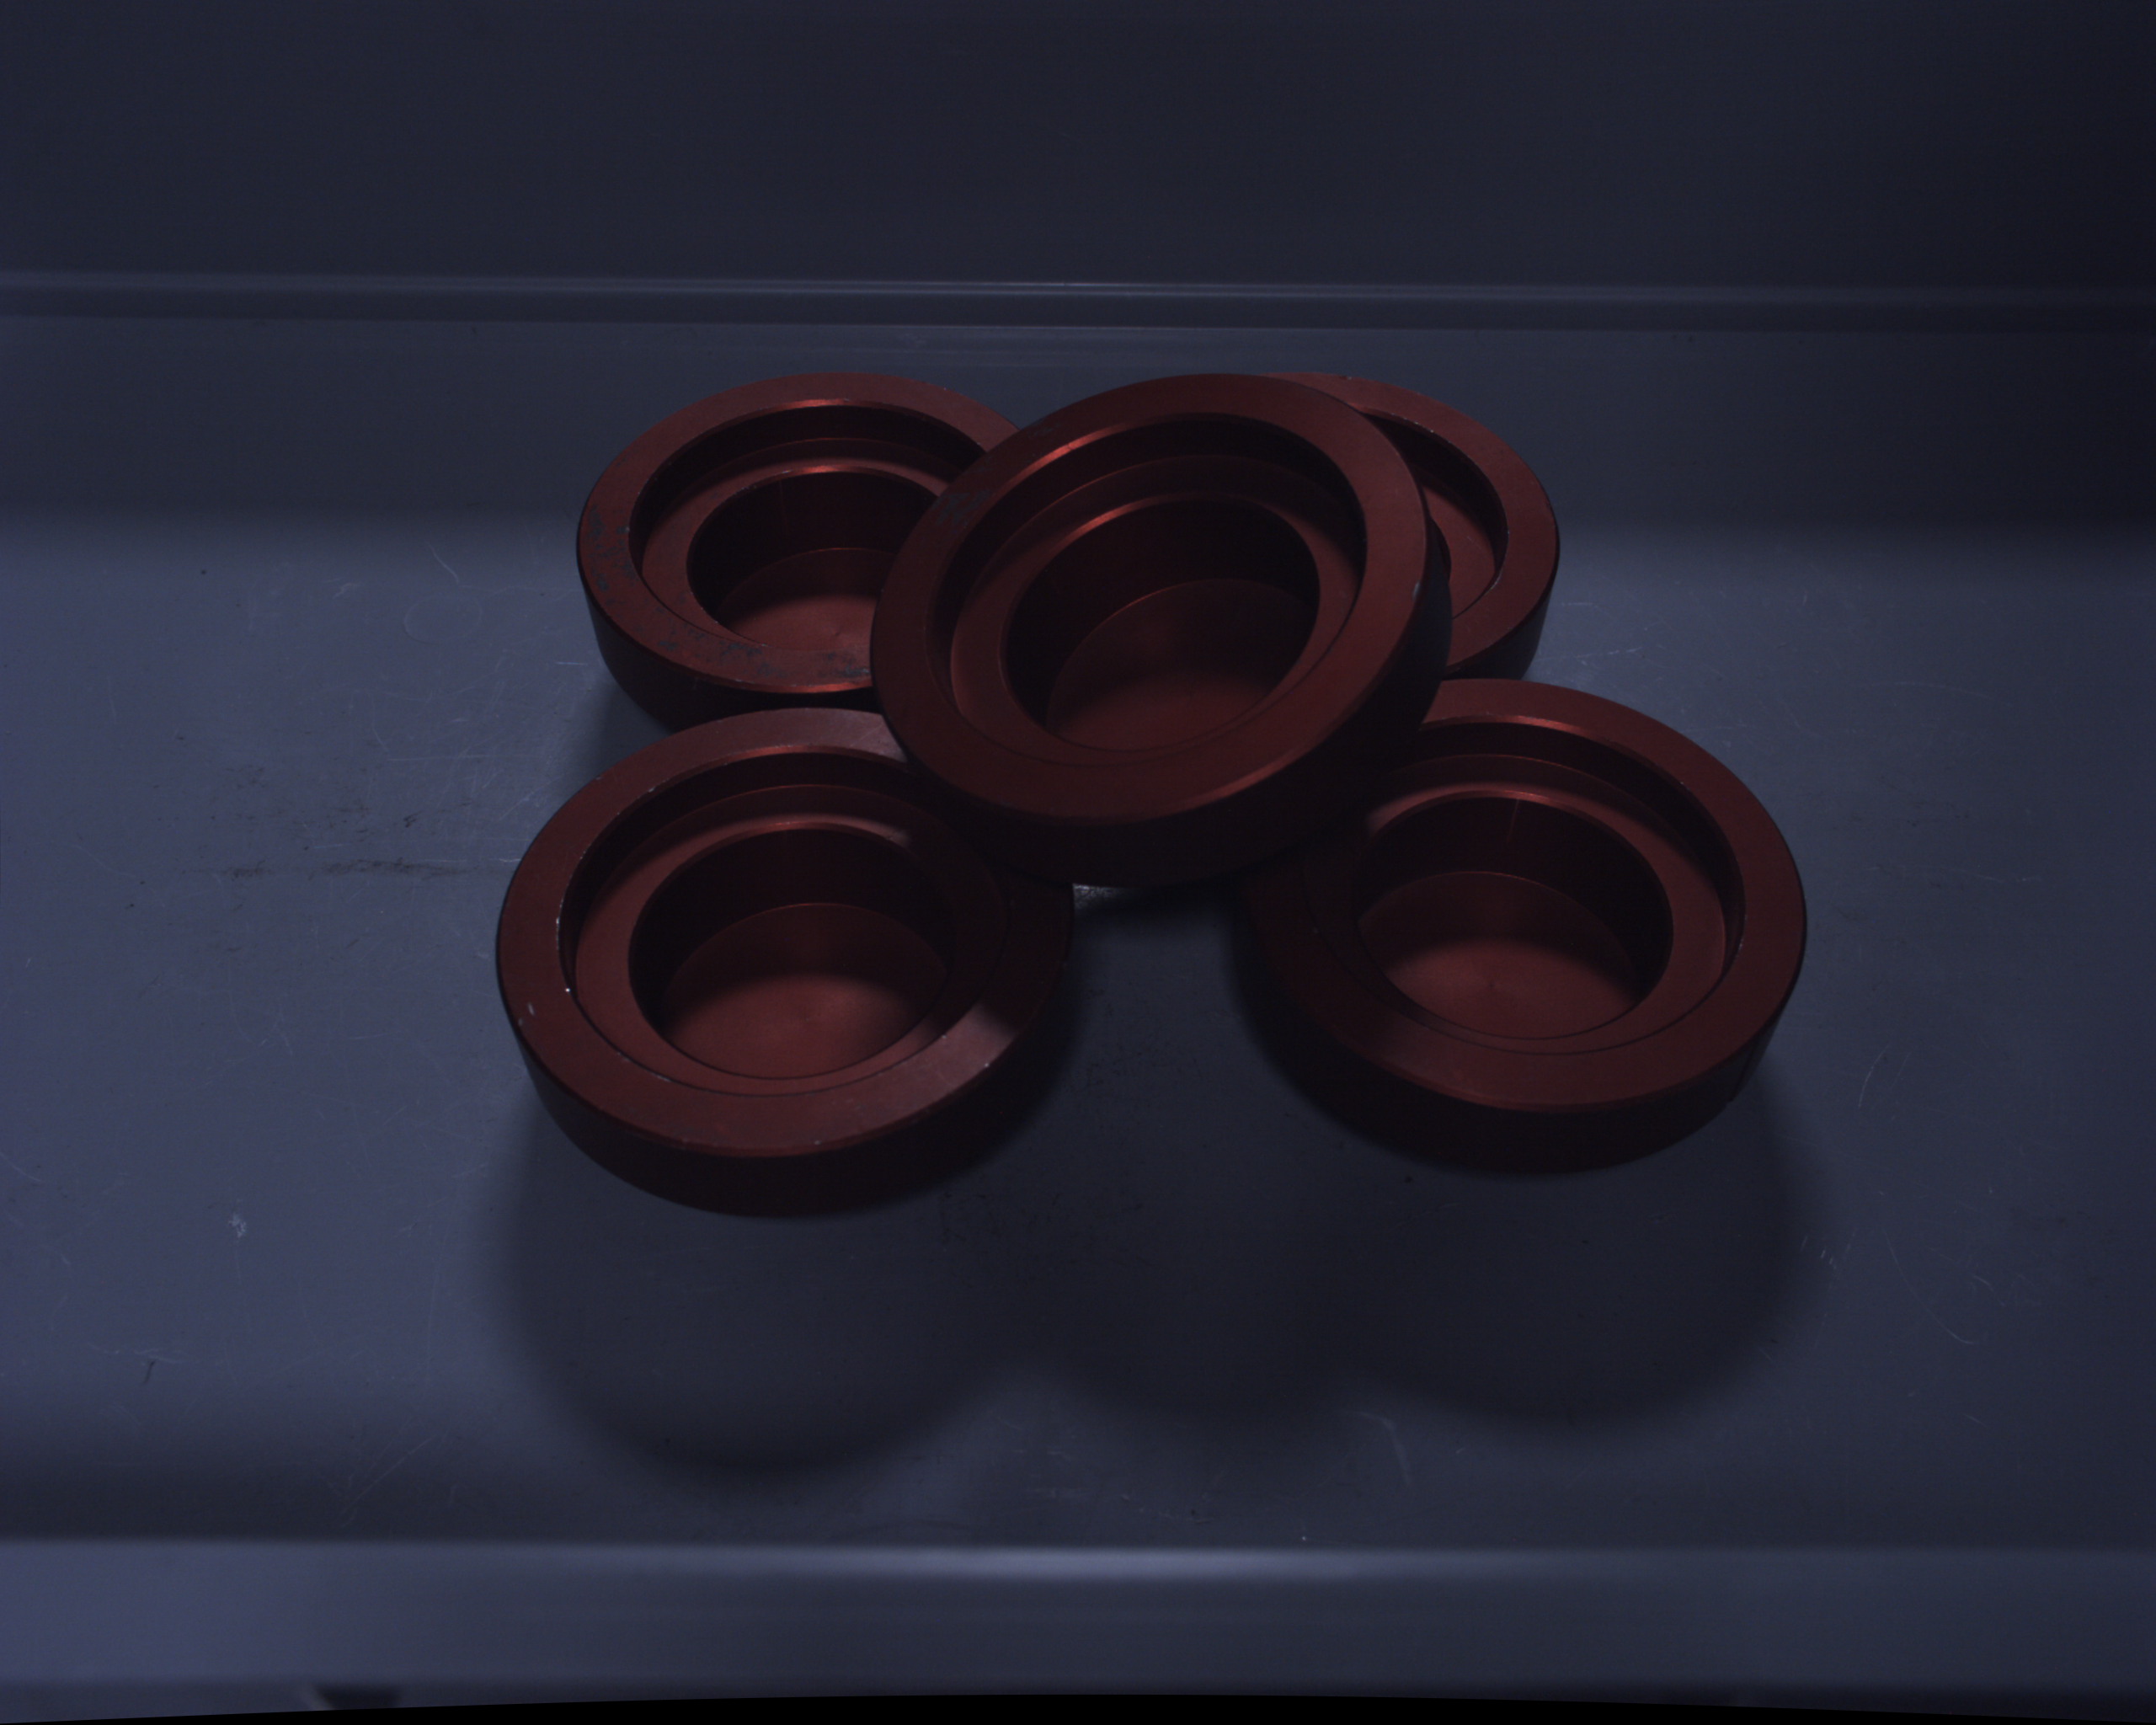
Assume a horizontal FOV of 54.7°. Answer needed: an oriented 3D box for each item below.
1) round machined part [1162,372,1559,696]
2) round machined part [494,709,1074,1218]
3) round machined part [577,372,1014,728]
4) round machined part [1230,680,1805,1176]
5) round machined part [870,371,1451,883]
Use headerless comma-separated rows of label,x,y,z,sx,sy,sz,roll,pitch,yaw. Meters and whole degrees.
round machined part,0.048,-0.057,0.441,0.099,0.042,0.098,0,50,0
round machined part,-0.050,0.021,0.373,0.099,0.042,0.098,0,50,0
round machined part,-0.052,-0.057,0.439,0.099,0.042,0.098,0,50,0
round machined part,0.077,0.015,0.380,0.099,0.042,0.098,0,50,0
round machined part,0.017,-0.037,0.368,0.098,0.042,0.098,-10,54,15
